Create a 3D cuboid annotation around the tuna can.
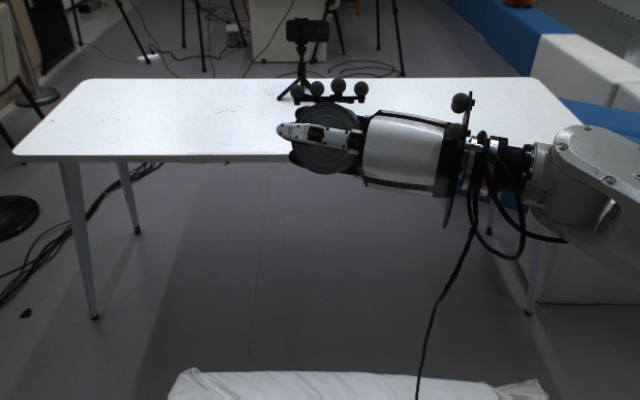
[{"bbox_3d":[0.010,-0.075,0.590,0.085,0.085,0.034,12,7,14],"label":"tuna can"}]
